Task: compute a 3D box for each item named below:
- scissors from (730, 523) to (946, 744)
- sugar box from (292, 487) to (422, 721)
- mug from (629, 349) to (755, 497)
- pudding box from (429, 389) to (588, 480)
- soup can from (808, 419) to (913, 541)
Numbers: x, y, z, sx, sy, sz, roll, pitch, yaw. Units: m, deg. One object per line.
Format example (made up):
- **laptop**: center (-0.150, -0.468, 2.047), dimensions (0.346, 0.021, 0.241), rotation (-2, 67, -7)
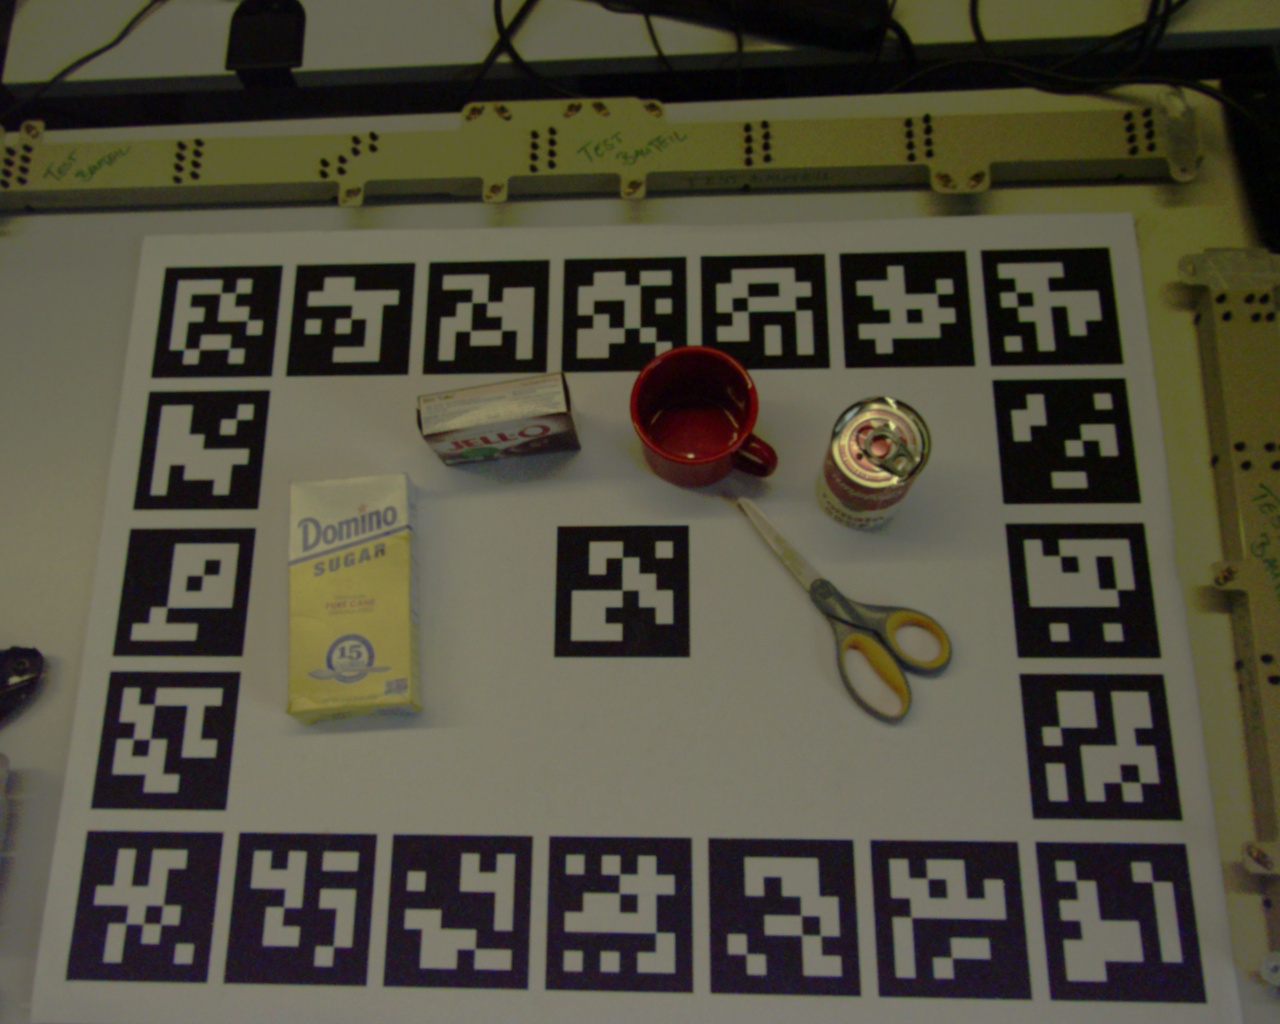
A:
- **scissors**: center (0.142, 0.080, 0.873), dimensions (0.088, 0.016, 0.204), rotation (-43, 78, 3)
- **sugar box**: center (-0.220, 0.072, 0.891), dimensions (0.093, 0.045, 0.177), rotation (-4, 77, 5)
- **mug**: center (0.049, -0.059, 0.883), dimensions (0.093, 0.081, 0.118), rotation (-36, 75, -3)
- **pudding box**: center (-0.101, -0.059, 0.886), dimensions (0.114, 0.090, 0.039), rotation (-10, 82, 1)
- **soup can**: center (0.164, -0.022, 0.862), dimensions (0.068, 0.101, 0.068), rotation (-1, 74, 4)
